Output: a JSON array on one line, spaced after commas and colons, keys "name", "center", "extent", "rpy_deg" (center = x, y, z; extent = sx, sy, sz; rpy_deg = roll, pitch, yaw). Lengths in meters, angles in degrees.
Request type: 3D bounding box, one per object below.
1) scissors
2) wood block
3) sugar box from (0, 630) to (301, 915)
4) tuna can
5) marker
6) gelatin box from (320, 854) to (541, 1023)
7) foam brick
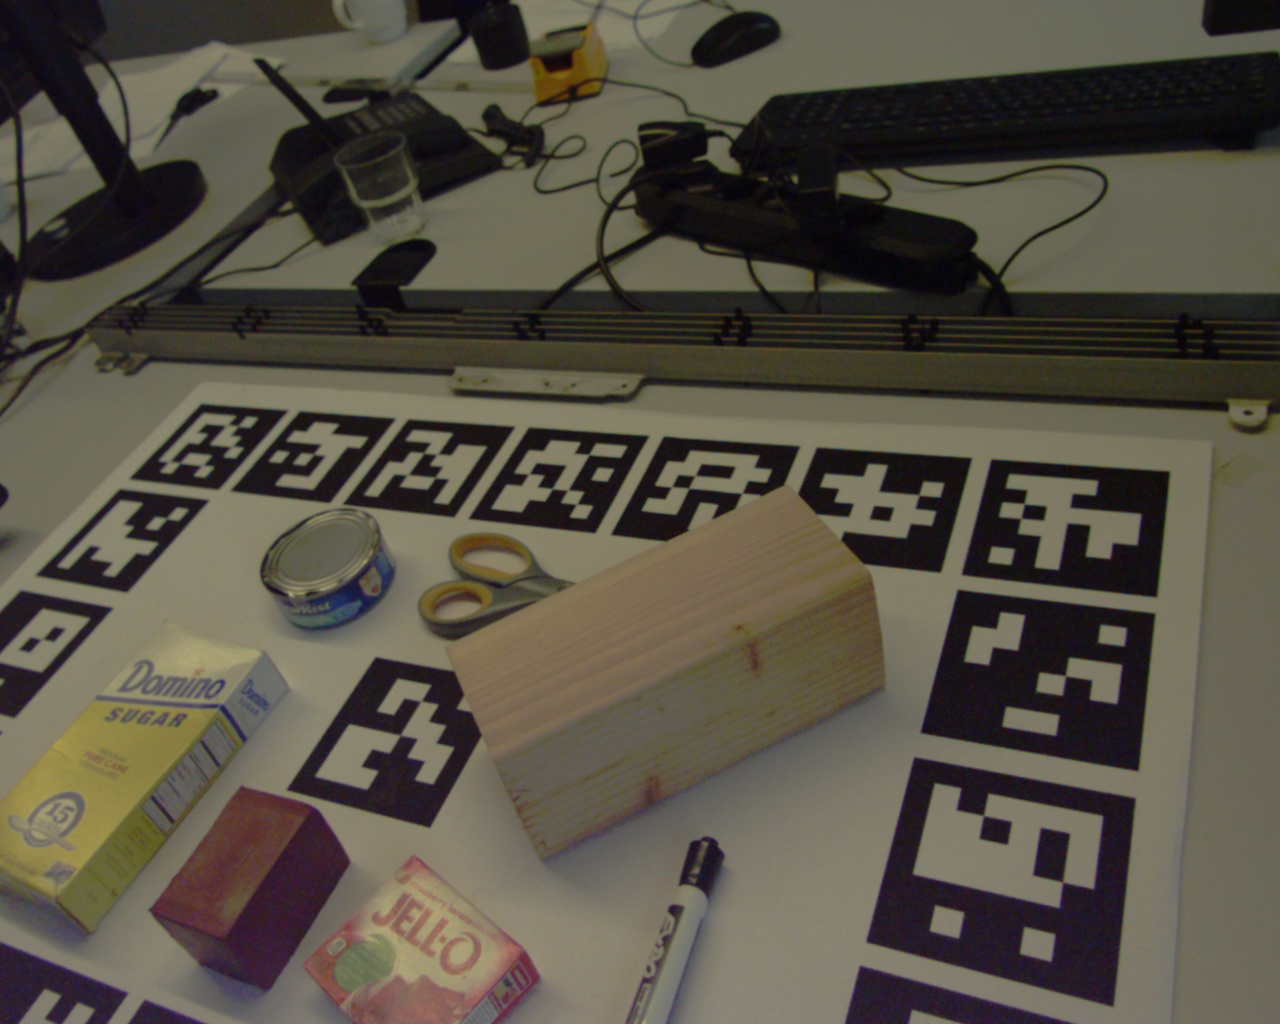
[{"name": "scissors", "center": [-0.060, 0.062, 0.751], "extent": [0.205, 0.016, 0.087], "rpy_deg": [11, 50, 33]}, {"name": "wood block", "center": [0.014, 0.093, 0.637], "extent": [0.205, 0.090, 0.091], "rpy_deg": [-26, 41, -8]}, {"name": "sugar box", "center": [-0.307, 0.158, 0.724], "extent": [0.094, 0.045, 0.175], "rpy_deg": [10, 49, 29]}, {"name": "tuna can", "center": [-0.222, 0.044, 0.816], "extent": [0.086, 0.033, 0.086], "rpy_deg": [-12, 42, 10]}, {"name": "marker", "center": [0.006, 0.212, 0.558], "extent": [0.020, 0.019, 0.120], "rpy_deg": [7, 50, 27]}, {"name": "gelatin box", "center": [-0.108, 0.228, 0.580], "extent": [0.090, 0.030, 0.073], "rpy_deg": [23, 57, 38]}, {"name": "foam brick", "center": [-0.201, 0.202, 0.623], "extent": [0.053, 0.051, 0.078], "rpy_deg": [7, 48, 28]}]
